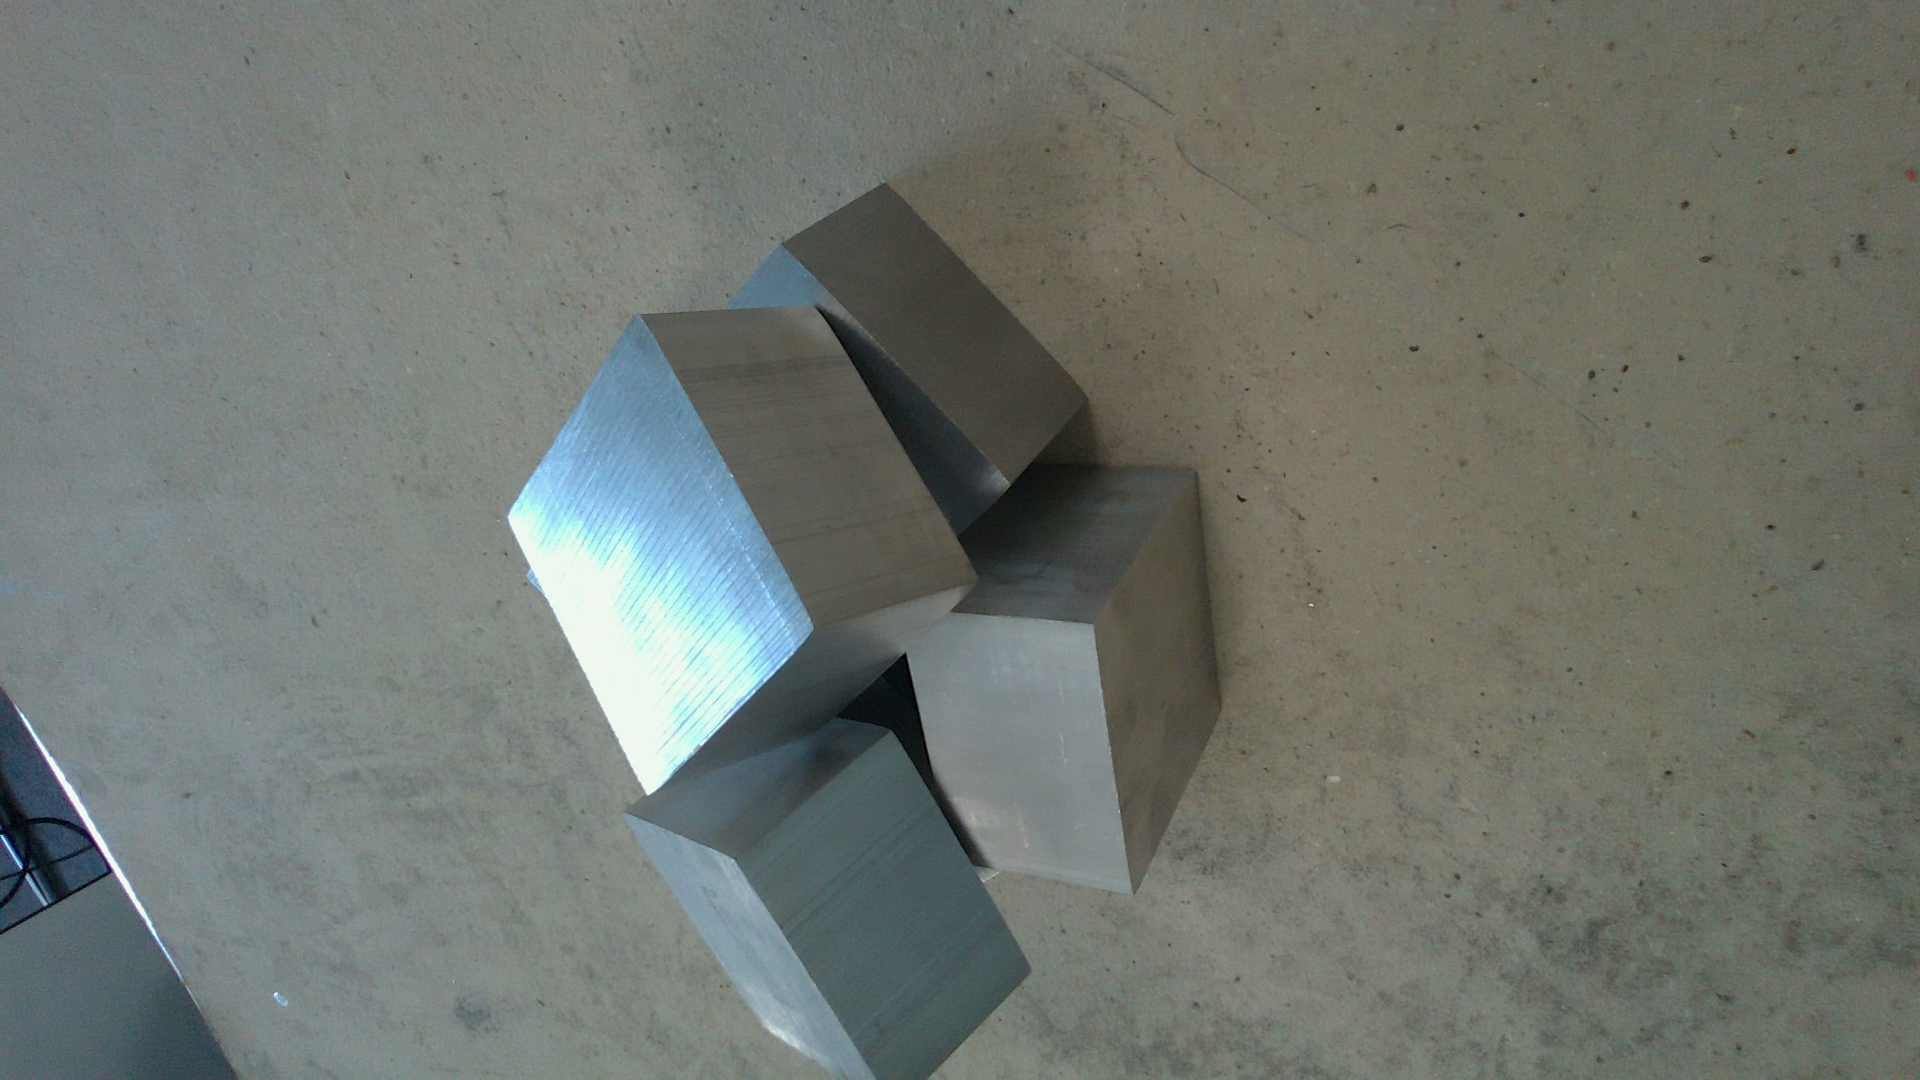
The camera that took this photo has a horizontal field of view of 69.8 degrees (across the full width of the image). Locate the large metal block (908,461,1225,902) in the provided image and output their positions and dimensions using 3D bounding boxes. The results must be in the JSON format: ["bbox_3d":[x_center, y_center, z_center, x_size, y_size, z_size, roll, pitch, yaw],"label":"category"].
[{"bbox_3d":[0.031,0.033,0.362,0.050,0.080,0.080,4,120,27],"label":"large metal block"}]

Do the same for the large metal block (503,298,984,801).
[{"bbox_3d":[-0.054,0.002,0.321,0.080,0.050,0.080,-44,70,39],"label":"large metal block"}]

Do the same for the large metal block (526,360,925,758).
[{"bbox_3d":[-0.072,0.007,0.421,0.080,0.050,0.080,45,129,-4],"label":"large metal block"}]

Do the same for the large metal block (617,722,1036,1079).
[{"bbox_3d":[-0.038,0.095,0.372,0.080,0.050,0.080,-2,121,57],"label":"large metal block"}]

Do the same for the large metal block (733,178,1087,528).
[{"bbox_3d":[-0.028,-0.034,0.369,0.080,0.050,0.080,46,128,-4],"label":"large metal block"}]

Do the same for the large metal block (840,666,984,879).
[{"bbox_3d":[-0.016,0.064,0.427,0.080,0.050,0.080,46,129,-4],"label":"large metal block"}]
